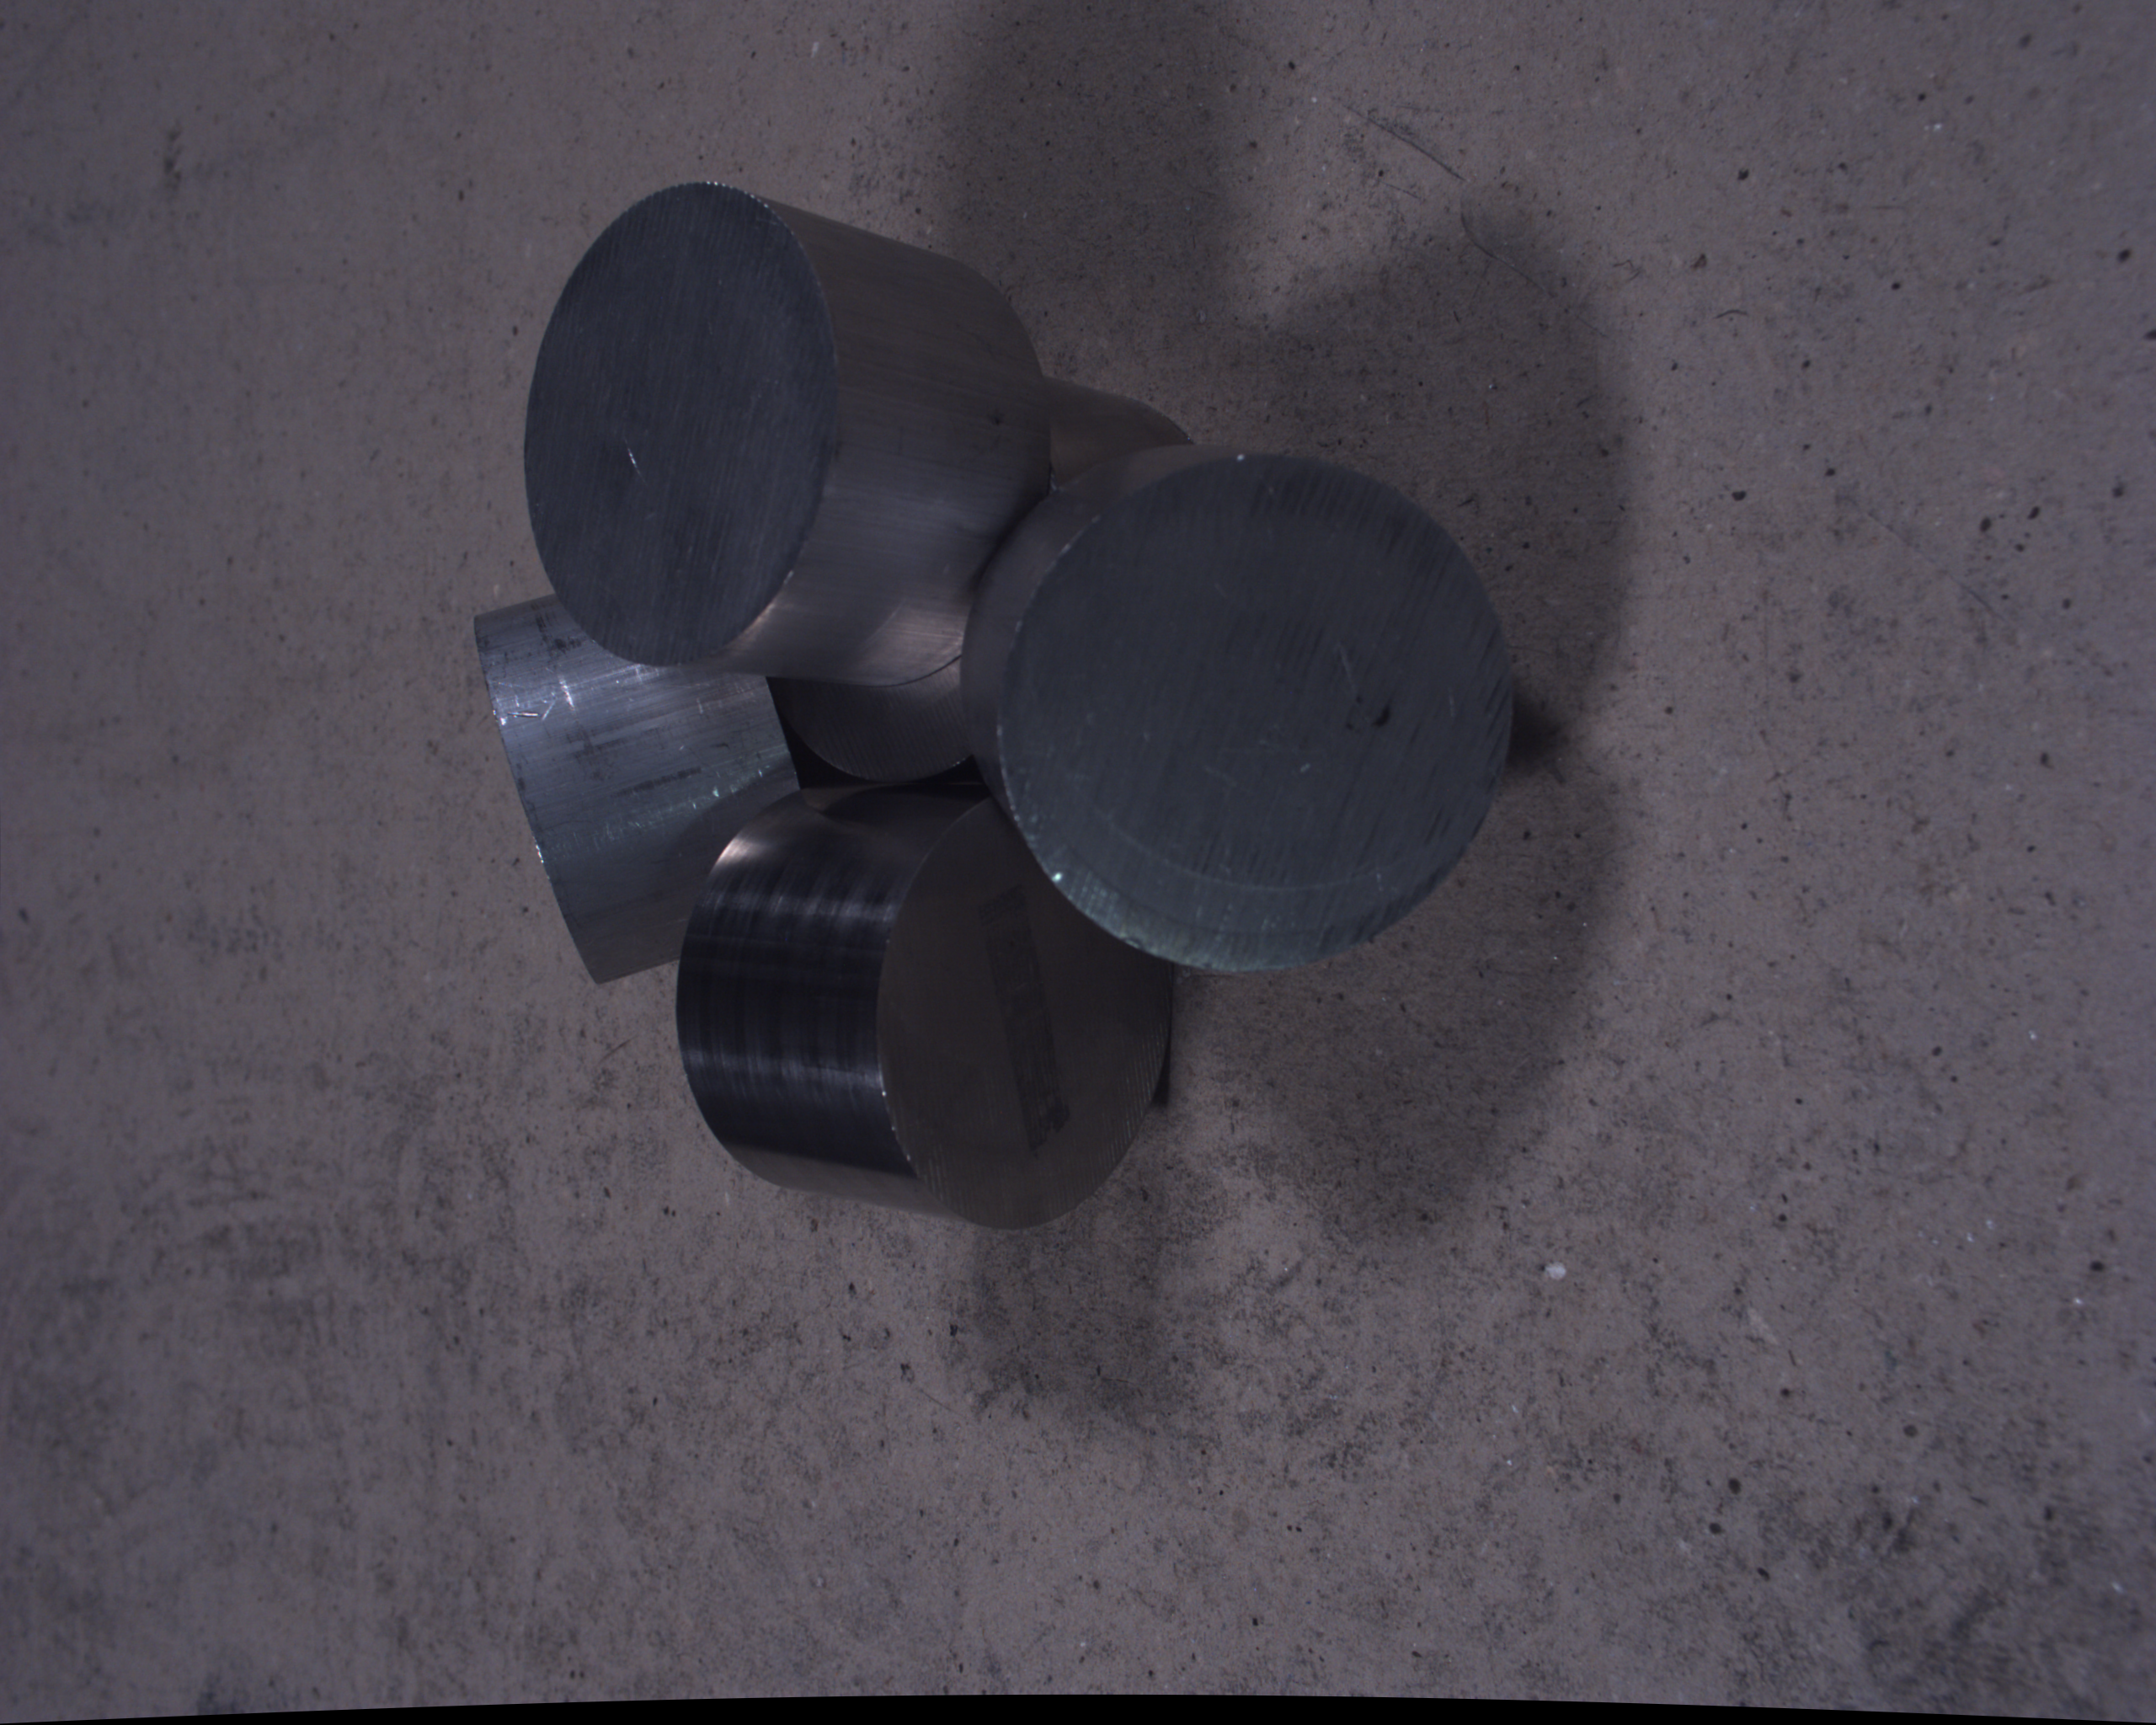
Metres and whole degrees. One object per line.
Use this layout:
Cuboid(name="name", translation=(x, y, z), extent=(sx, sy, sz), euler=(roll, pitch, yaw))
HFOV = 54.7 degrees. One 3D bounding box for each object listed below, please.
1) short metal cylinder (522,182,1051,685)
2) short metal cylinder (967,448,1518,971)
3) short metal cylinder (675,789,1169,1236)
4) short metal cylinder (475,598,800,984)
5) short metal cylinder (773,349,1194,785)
Cuboid(name="short metal cylinder", translation=(-0.052, -0.072, 0.365), extent=(0.080, 0.050, 0.079), euler=(0, 90, 39))
Cuboid(name="short metal cylinder", translation=(0.024, -0.027, 0.341), extent=(0.050, 0.081, 0.079), euler=(-132, 53, -74))
Cuboid(name="short metal cylinder", translation=(-0.027, 0.026, 0.390), extent=(0.050, 0.081, 0.079), euler=(2, 92, 40))
Cuboid(name="short metal cylinder", translation=(-0.087, -0.020, 0.433), extent=(0.080, 0.050, 0.080), euler=(163, 89, -81))
Cuboid(name="short metal cylinder", translation=(-0.017, -0.054, 0.402), extent=(0.080, 0.050, 0.079), euler=(0, 90, 39))
